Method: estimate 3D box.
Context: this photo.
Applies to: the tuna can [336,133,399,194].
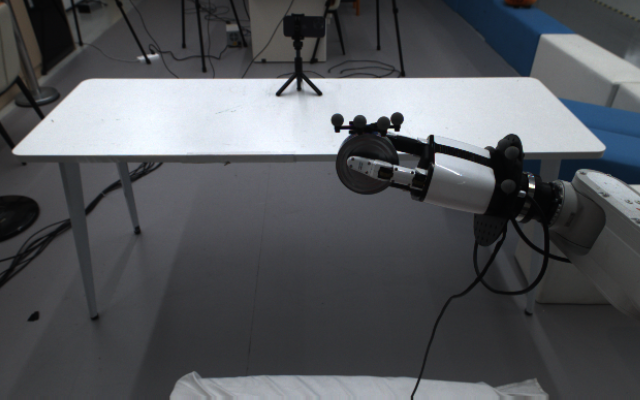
[{"bbox_3d":[0.066,-0.053,0.668,0.085,0.085,0.034,4,17,3],"label":"tuna can"}]
